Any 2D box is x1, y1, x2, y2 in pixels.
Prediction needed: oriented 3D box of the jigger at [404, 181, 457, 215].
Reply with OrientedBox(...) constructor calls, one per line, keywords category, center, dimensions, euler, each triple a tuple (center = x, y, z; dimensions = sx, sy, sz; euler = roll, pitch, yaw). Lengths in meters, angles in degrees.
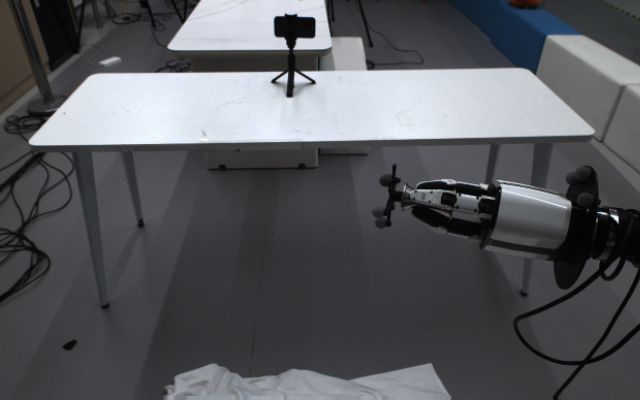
OrientedBox(category="jigger", center=(0.154, -0.003, 0.661), dimensions=(0.071, 0.043, 0.043), euler=(8, 35, 15))
